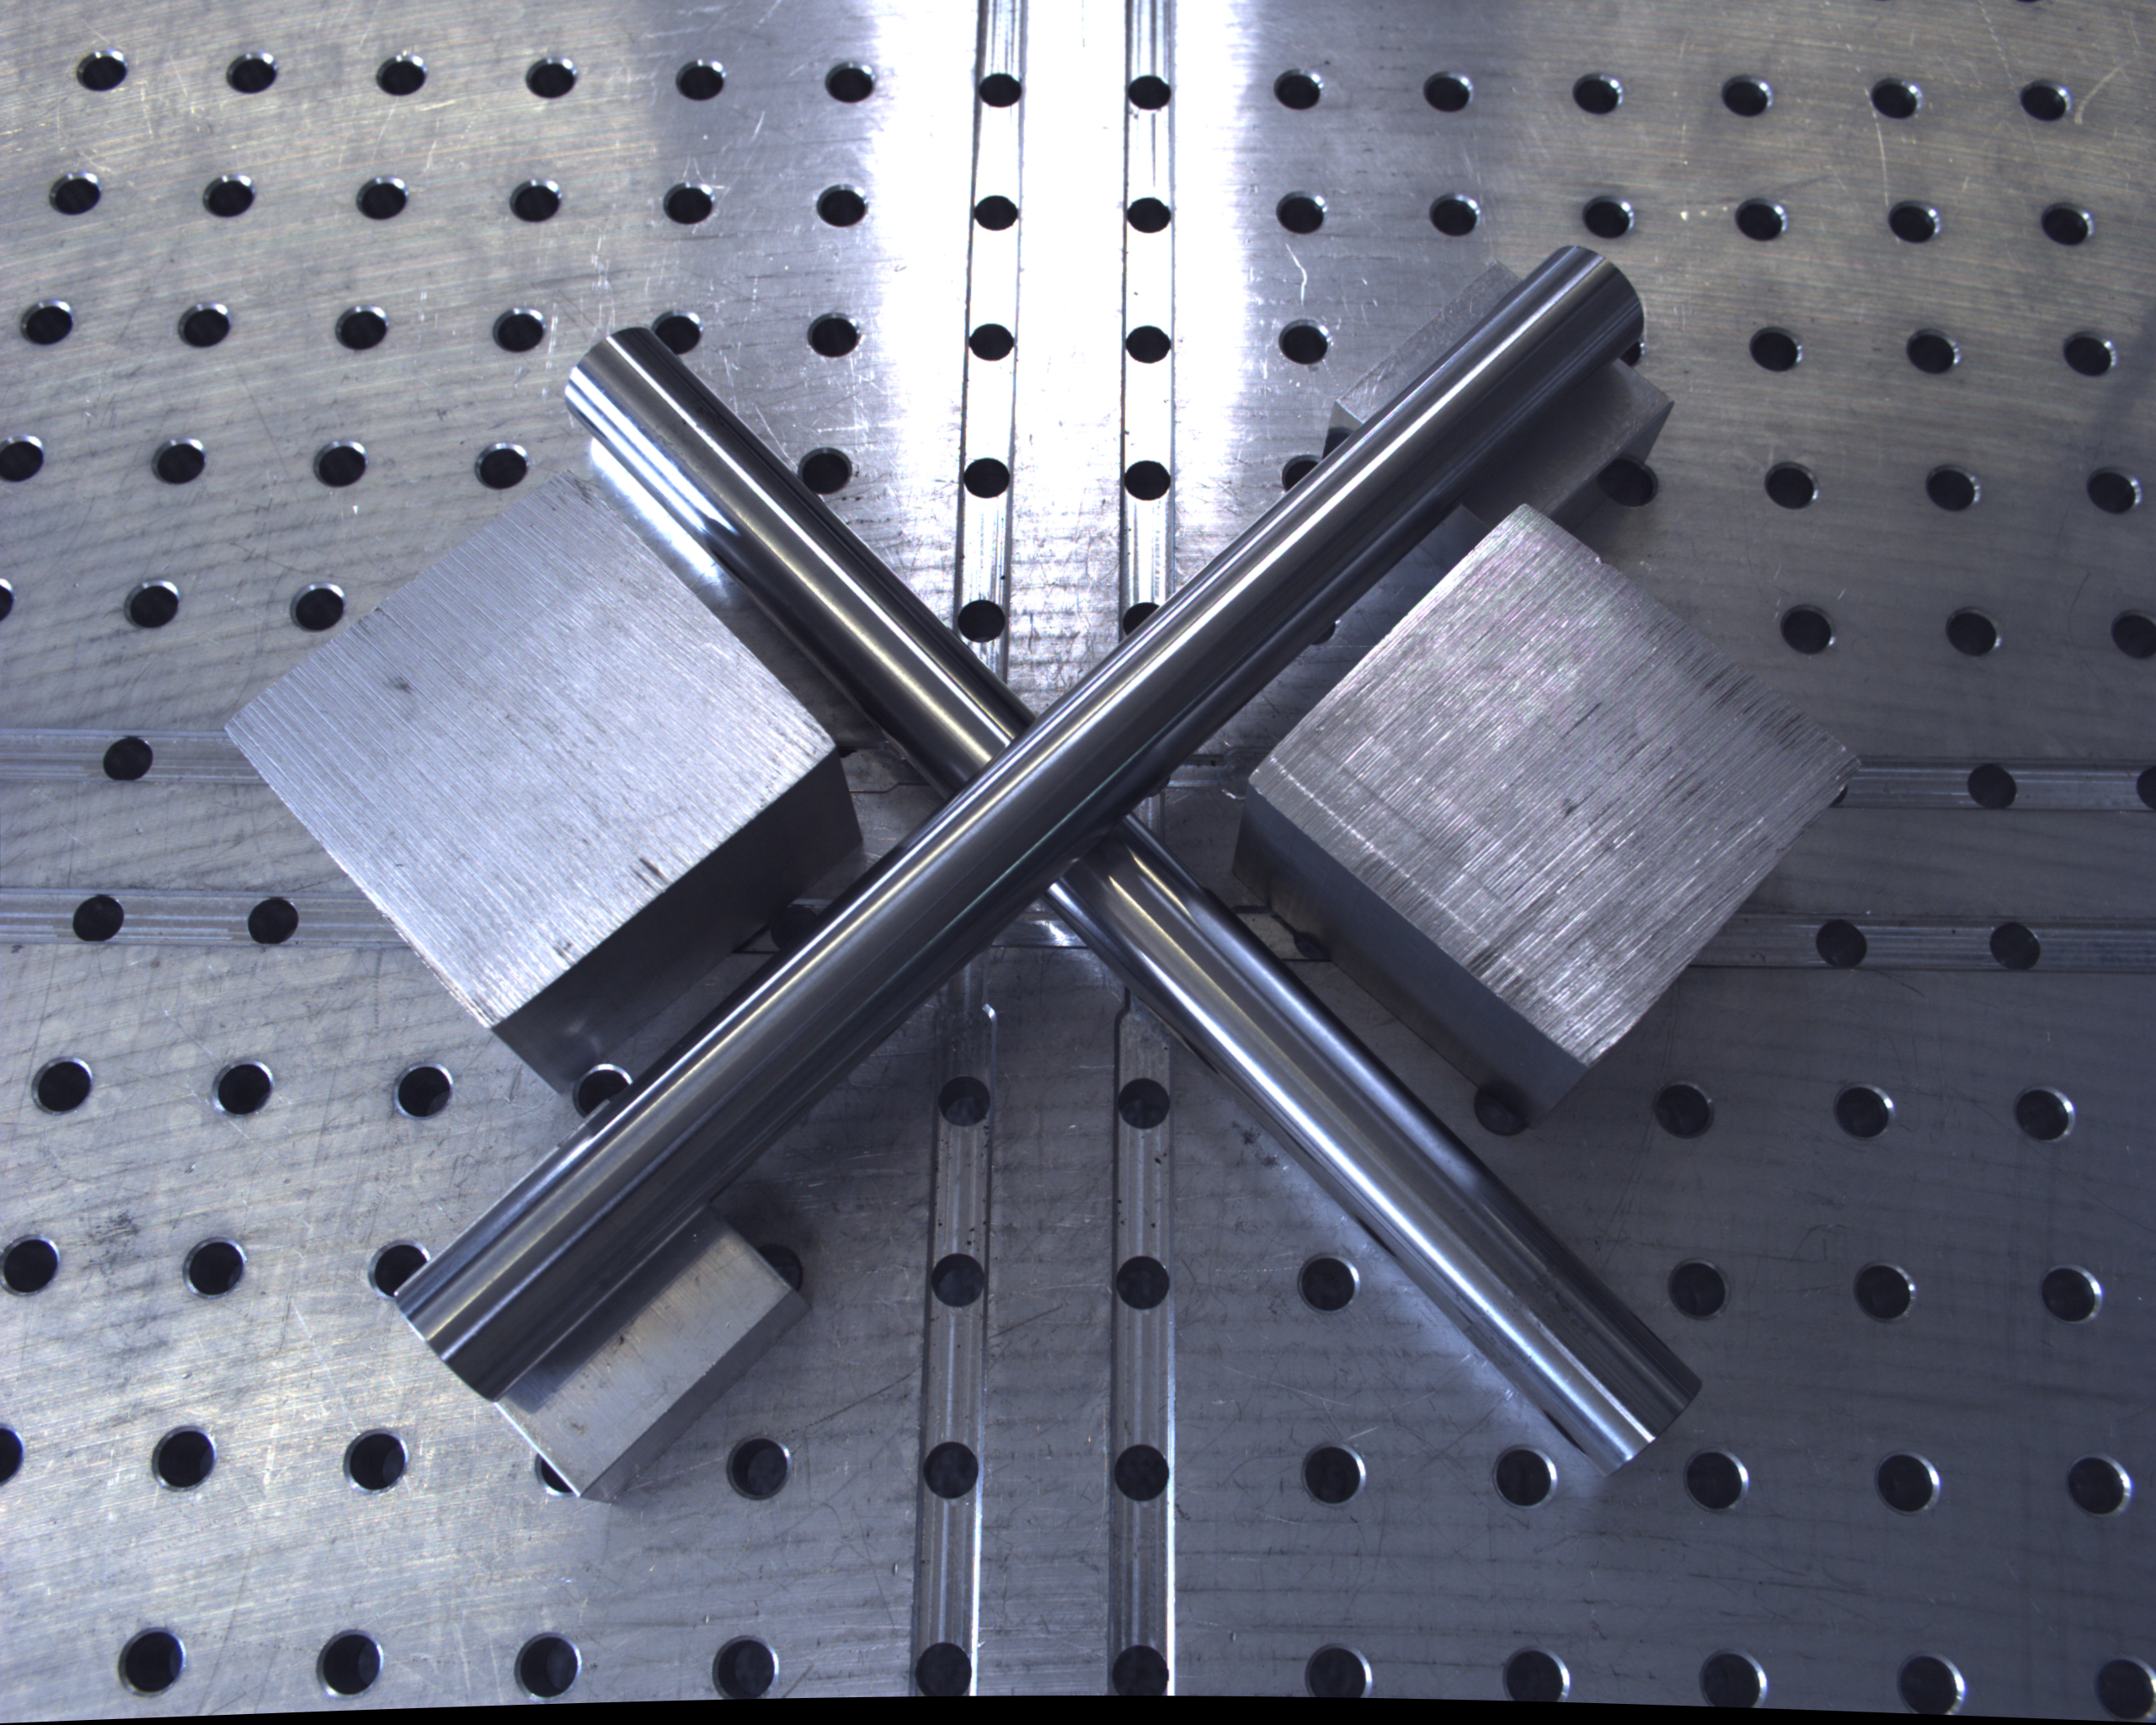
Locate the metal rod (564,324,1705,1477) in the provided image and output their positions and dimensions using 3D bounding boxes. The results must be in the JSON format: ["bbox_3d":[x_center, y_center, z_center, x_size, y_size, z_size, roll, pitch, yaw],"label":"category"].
[{"bbox_3d":[0.002,-0.002,0.411,0.025,0.025,0.300,-41,75,-13],"label":"metal rod"}]

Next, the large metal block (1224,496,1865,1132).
[{"bbox_3d":[0.087,-0.009,0.402,0.080,0.050,0.080,41,75,13],"label":"large metal block"}]

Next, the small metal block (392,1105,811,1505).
[{"bbox_3d":[-0.086,0.080,0.382,0.050,0.025,0.050,43,75,14],"label":"small metal block"}]

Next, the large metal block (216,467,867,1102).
[{"bbox_3d":[-0.100,-0.014,0.403,0.080,0.050,0.080,-41,75,-14],"label":"large metal block"}]

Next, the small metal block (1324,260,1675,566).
[{"bbox_3d":[0.089,-0.092,0.446,0.050,0.025,0.050,-42,76,-14],"label":"small metal block"}]

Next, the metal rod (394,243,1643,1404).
[{"bbox_3d":[-0.001,-0.017,0.391,0.301,0.025,0.025,-43,76,-14],"label":"metal rod"}]
